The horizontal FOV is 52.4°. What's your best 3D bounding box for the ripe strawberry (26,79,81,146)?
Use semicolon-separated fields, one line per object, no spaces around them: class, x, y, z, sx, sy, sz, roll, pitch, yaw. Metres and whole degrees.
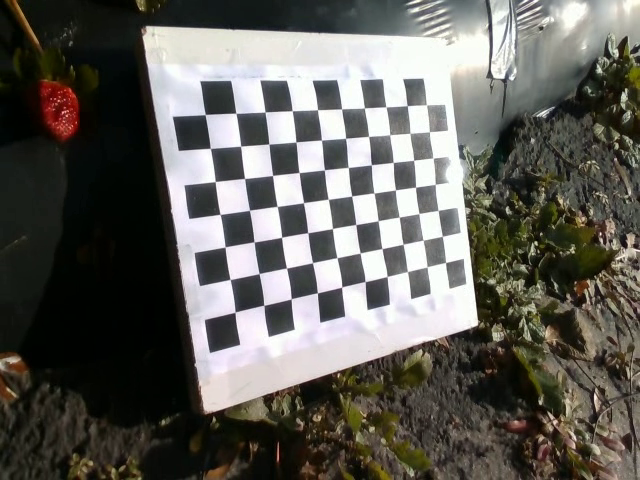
ripe strawberry;-0.060;-0.029;0.144;0.015;0.015;0.023;0;38;-35
